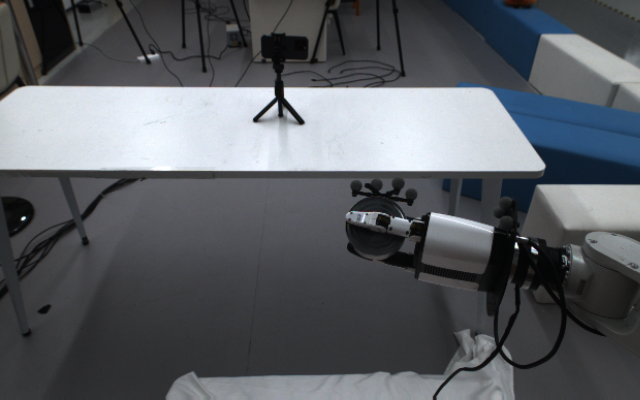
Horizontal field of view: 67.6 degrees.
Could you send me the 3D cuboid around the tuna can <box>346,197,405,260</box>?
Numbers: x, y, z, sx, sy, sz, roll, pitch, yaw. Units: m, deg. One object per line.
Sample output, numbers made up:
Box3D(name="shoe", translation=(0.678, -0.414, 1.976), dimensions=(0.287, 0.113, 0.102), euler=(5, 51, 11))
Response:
Box3D(name="tuna can", translation=(0.080, 0.036, 0.677), dimensions=(0.085, 0.034, 0.085), euler=(-3, 68, 7))
